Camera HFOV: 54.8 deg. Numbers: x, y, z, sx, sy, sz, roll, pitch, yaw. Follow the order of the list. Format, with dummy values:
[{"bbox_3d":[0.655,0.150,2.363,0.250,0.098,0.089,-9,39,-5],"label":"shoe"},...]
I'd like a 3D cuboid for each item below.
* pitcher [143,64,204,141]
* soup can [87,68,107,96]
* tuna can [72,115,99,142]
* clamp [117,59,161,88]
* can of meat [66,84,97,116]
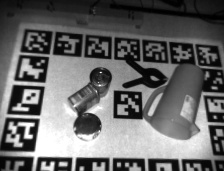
[{"bbox_3d":[0.217,0.047,0.723,0.187,0.134,0.243,14,58,22],"label":"pitcher"},{"bbox_3d":[-0.052,-0.009,0.729,0.068,0.102,0.067,1,70,-3],"label":"soup can"},{"bbox_3d":[-0.086,0.140,0.701,0.086,0.034,0.085,3,70,-7],"label":"tuna can"},{"bbox_3d":[0.101,-0.039,0.807,0.166,0.036,0.121,6,64,-9],"label":"clamp"},{"bbox_3d":[-0.100,0.051,0.694,0.084,0.102,0.057,-33,76,-14],"label":"can of meat"}]
